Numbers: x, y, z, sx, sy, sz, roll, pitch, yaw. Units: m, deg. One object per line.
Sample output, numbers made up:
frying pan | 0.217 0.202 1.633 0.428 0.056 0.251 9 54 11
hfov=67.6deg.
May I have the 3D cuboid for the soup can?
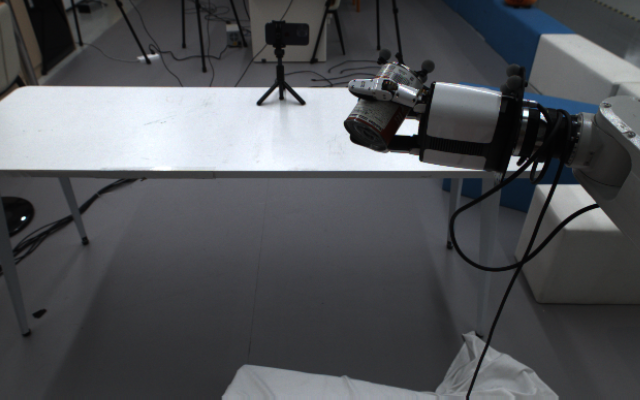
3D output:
soup can | 0.087 -0.128 0.661 0.067 0.067 0.101 27 78 31
